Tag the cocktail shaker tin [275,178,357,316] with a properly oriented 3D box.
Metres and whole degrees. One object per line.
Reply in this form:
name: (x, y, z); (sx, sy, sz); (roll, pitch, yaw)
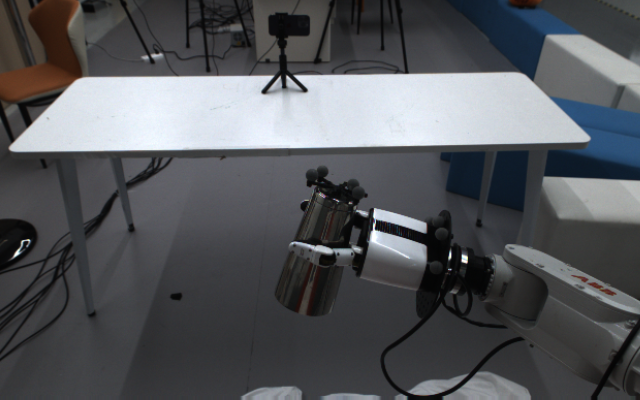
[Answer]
cocktail shaker tin: (-0.001, 0.069, 0.697); (0.093, 0.170, 0.093); (15, 17, -5)
